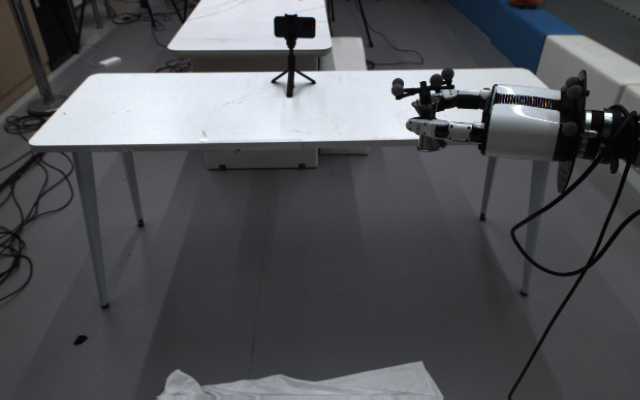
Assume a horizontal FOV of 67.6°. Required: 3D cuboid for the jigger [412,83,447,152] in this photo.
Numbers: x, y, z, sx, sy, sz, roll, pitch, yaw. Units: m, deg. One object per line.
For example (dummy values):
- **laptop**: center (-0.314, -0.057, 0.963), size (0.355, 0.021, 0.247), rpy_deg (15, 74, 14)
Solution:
- **jigger**: center (0.155, -0.108, 0.694), size (0.043, 0.071, 0.043), rpy_deg (-11, 24, 5)
